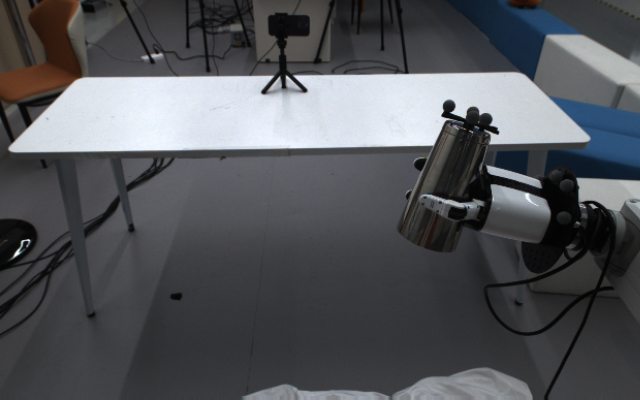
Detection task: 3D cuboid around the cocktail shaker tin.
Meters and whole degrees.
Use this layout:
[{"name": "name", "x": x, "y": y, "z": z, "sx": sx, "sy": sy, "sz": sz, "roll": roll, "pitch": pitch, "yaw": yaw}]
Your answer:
[{"name": "cocktail shaker tin", "x": 0.181, "y": -0.023, "z": 0.693, "sx": 0.093, "sy": 0.170, "sz": 0.093, "roll": 14, "pitch": 20, "yaw": -5}]
